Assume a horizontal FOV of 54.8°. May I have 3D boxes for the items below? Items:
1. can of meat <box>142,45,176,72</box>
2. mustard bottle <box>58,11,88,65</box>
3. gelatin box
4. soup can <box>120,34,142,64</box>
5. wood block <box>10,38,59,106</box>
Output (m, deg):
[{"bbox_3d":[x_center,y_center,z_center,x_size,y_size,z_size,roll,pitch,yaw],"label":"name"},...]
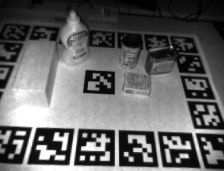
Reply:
[{"bbox_3d":[0.160,-0.098,0.758,0.102,0.084,0.057,-8,54,-15],"label":"can of meat"},{"bbox_3d":[-0.127,-0.153,0.702,0.097,0.192,0.058,-19,55,-21],"label":"mustard bottle"},{"bbox_3d":[0.082,-0.014,0.711,0.089,0.030,0.073,9,54,3],"label":"gelatin box"},{"bbox_3d":[0.064,-0.132,0.748,0.068,0.102,0.067,3,54,-3],"label":"soup can"},{"bbox_3d":[-0.228,-0.046,0.665,0.091,0.090,0.205,4,48,-5],"label":"wood block"}]
